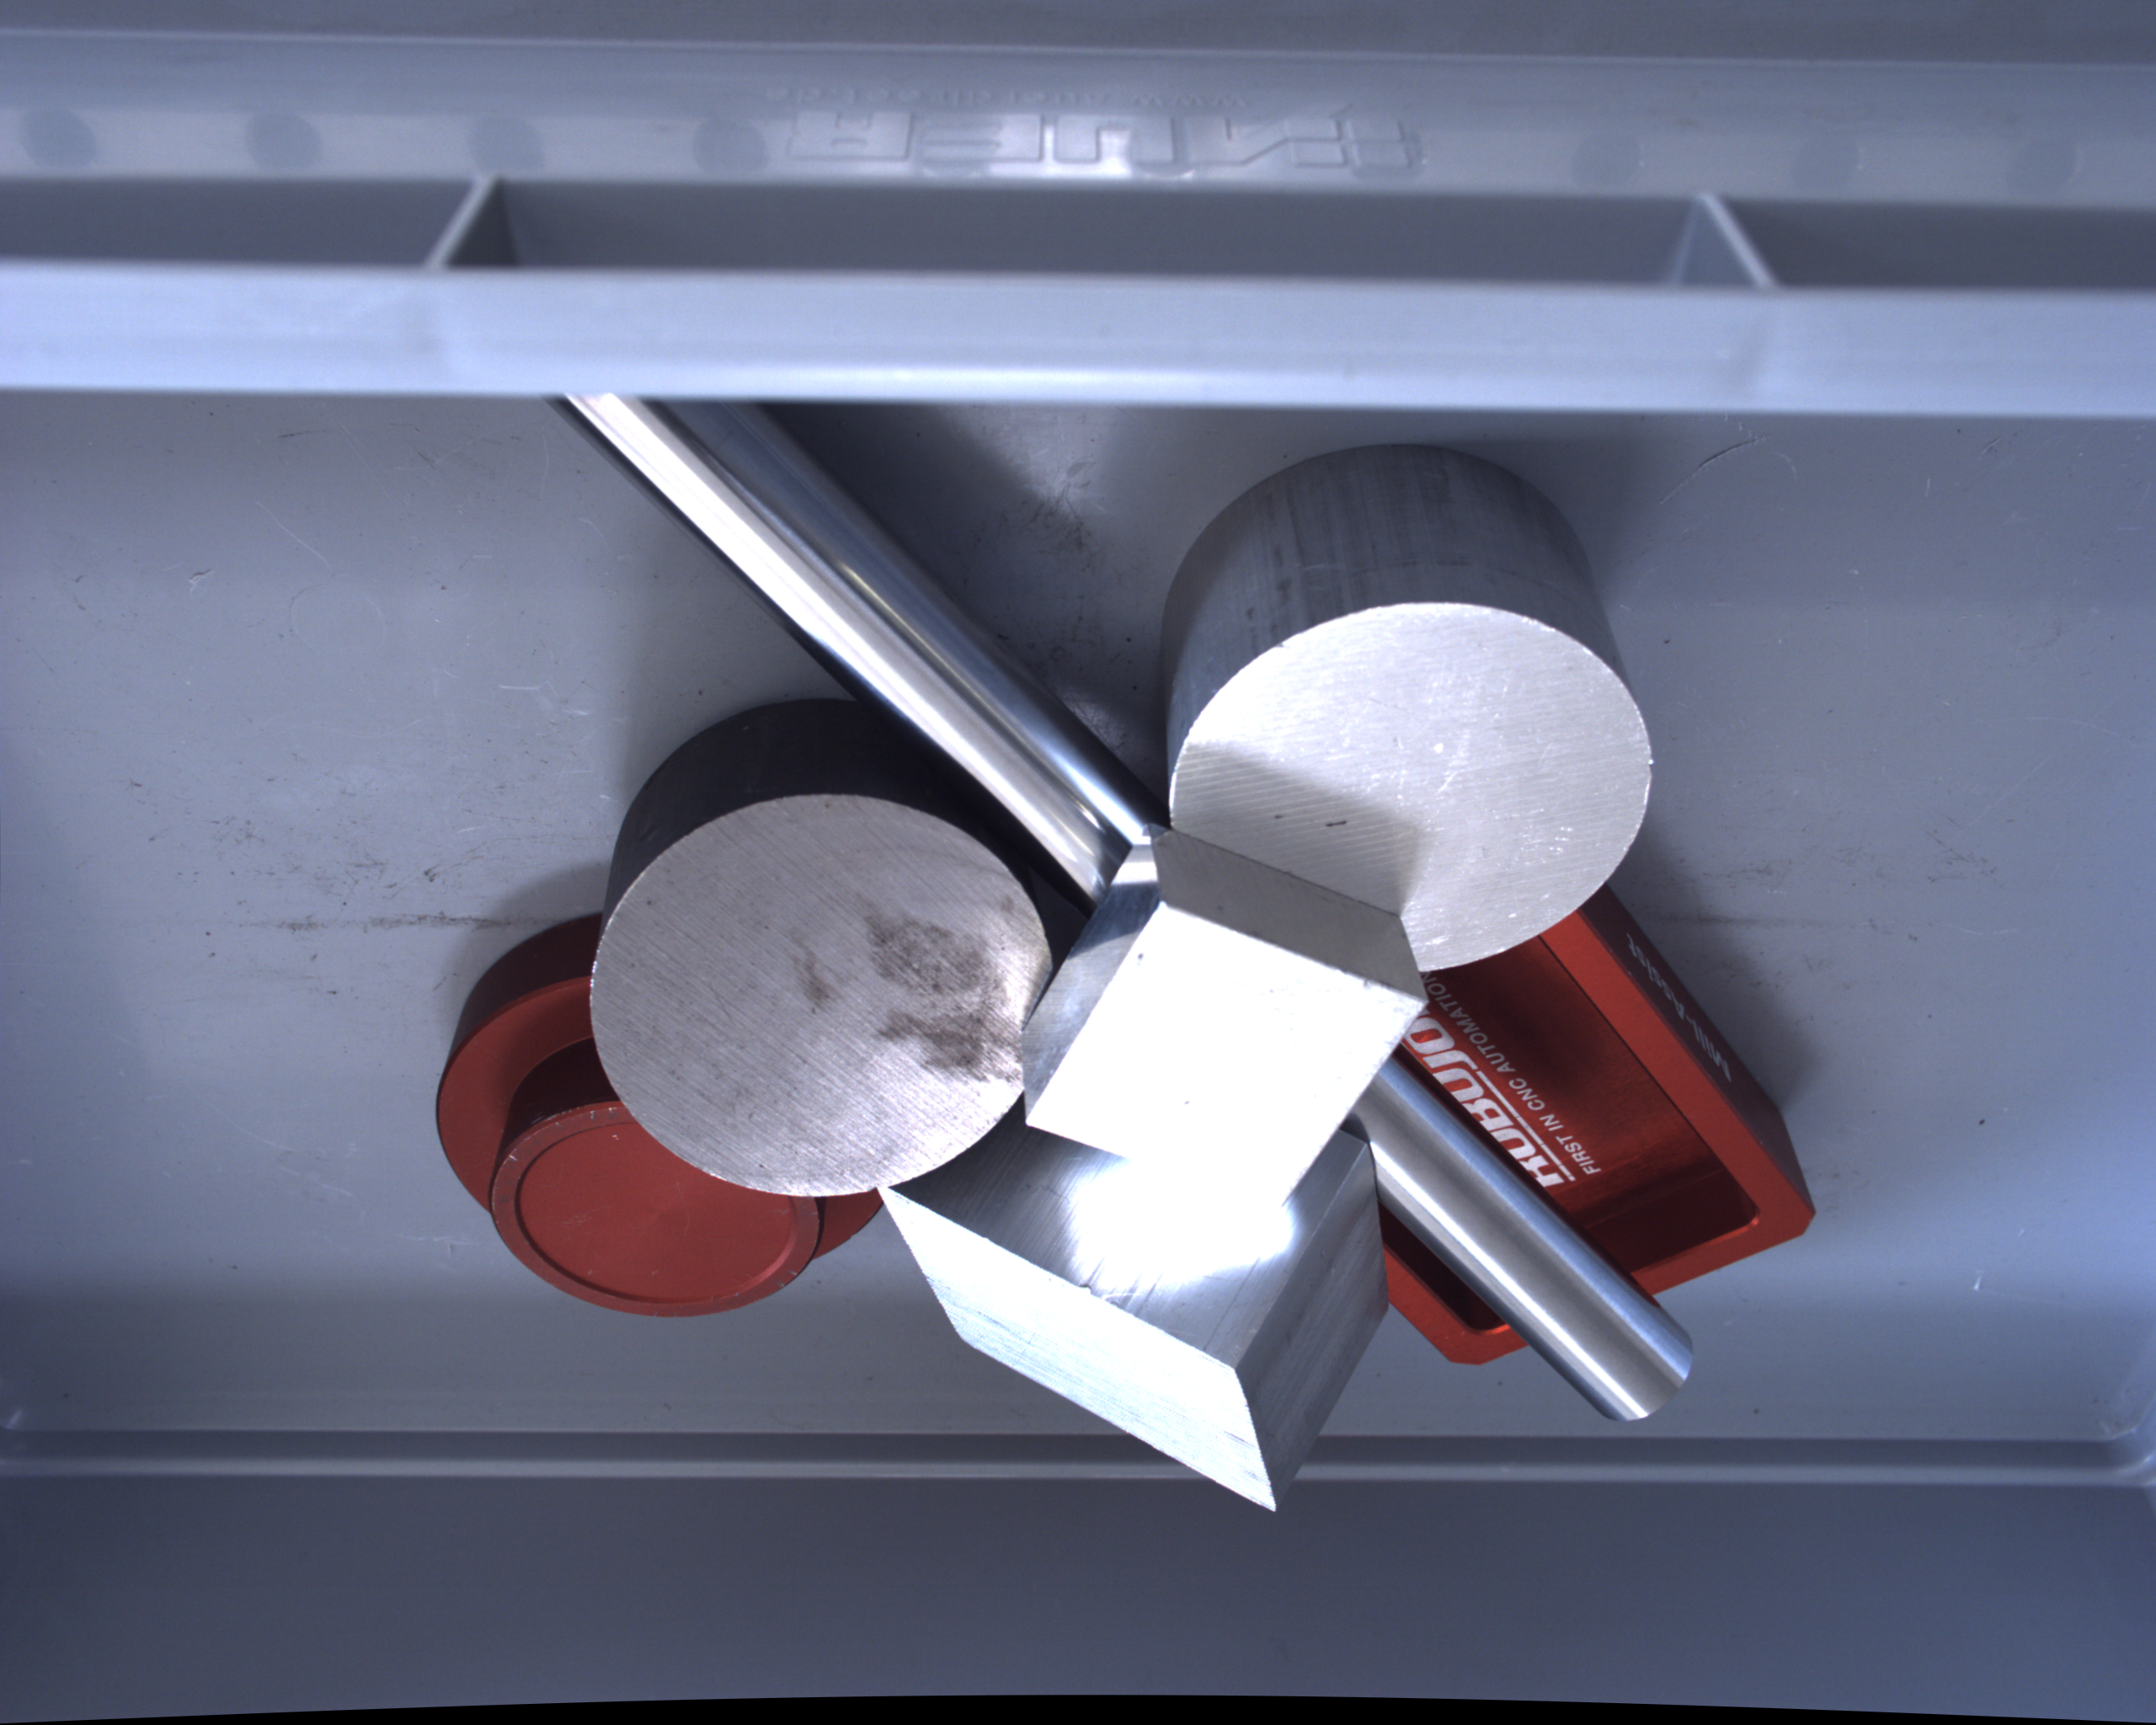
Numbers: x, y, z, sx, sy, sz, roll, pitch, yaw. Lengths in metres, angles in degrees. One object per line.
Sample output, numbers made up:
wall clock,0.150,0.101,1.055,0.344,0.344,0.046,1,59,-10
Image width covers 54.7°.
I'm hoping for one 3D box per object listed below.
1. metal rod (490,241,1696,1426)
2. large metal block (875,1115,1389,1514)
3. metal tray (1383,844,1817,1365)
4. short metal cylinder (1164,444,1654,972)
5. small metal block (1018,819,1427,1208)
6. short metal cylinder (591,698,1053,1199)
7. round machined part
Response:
metal rod,0.017,0.009,0.382,0.025,0.025,0.300,-35,113,26
large metal block,0.013,0.079,0.423,0.080,0.050,0.080,22,152,25
metal tray,0.088,0.050,0.447,0.090,0.030,0.130,-29,125,22
short metal cylinder,0.056,-0.026,0.369,0.081,0.050,0.079,0,130,0
small metal block,0.024,0.027,0.361,0.050,0.025,0.050,21,119,-17
short metal cylinder,-0.048,0.015,0.388,0.081,0.050,0.079,-3,114,-8
round machined part,-0.087,0.060,0.445,0.099,0.042,0.097,0,130,0
